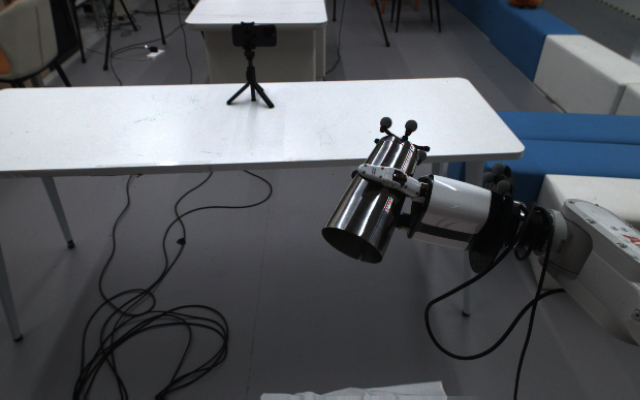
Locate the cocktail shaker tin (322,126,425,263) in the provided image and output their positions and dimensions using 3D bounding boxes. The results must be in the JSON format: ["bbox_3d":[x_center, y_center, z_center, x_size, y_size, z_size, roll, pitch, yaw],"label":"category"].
[{"bbox_3d":[0.083,-0.010,0.688,0.093,0.093,0.170,18,66,21],"label":"cocktail shaker tin"}]
